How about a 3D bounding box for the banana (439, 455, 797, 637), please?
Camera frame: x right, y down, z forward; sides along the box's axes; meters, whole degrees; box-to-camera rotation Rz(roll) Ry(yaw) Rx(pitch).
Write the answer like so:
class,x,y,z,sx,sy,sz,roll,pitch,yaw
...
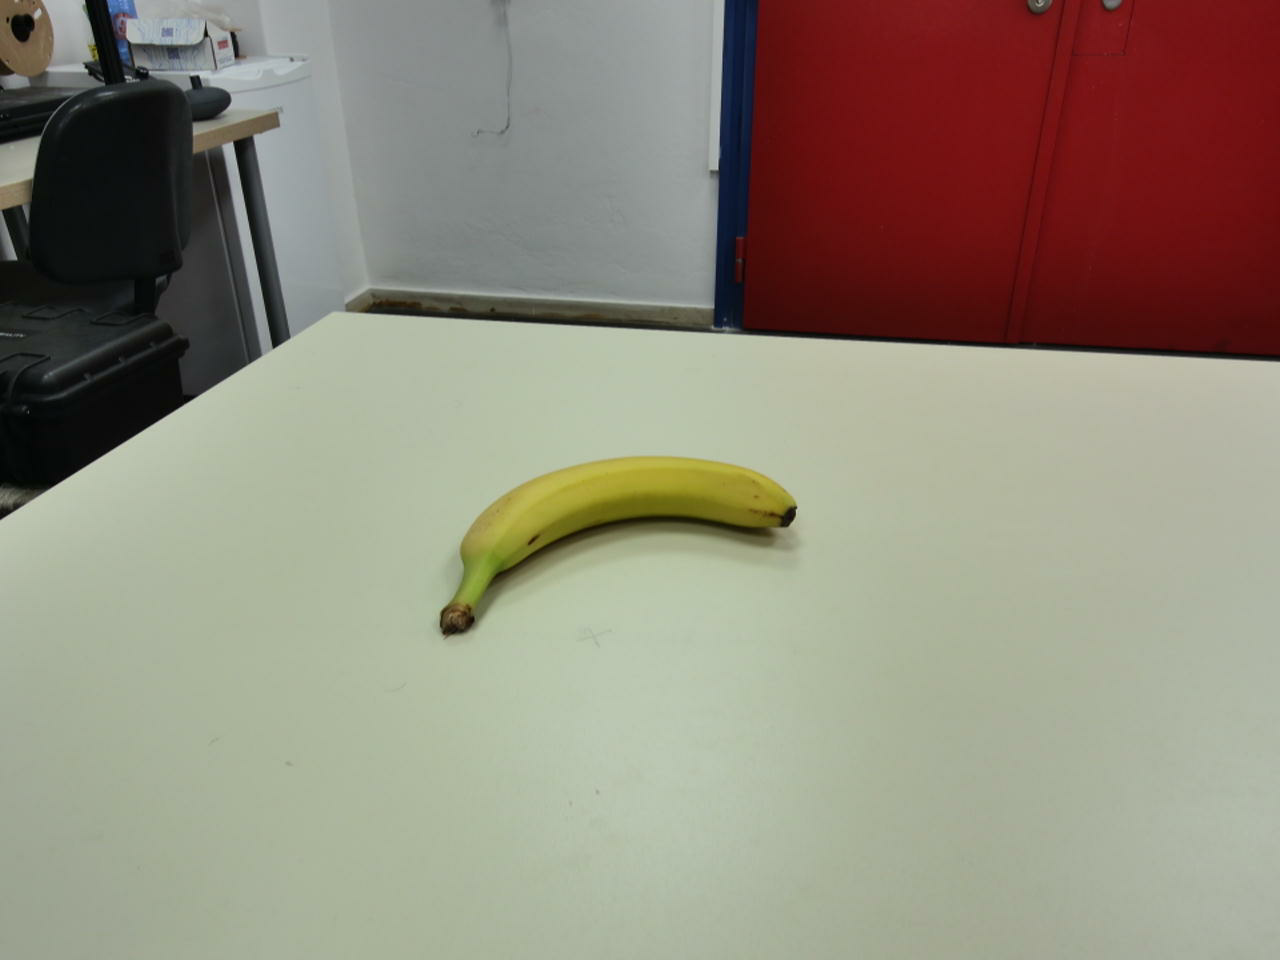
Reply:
class,x,y,z,sx,sy,sz,roll,pitch,yaw
banana,-0.020,0.020,0.533,0.196,0.041,0.094,-11,27,-21
